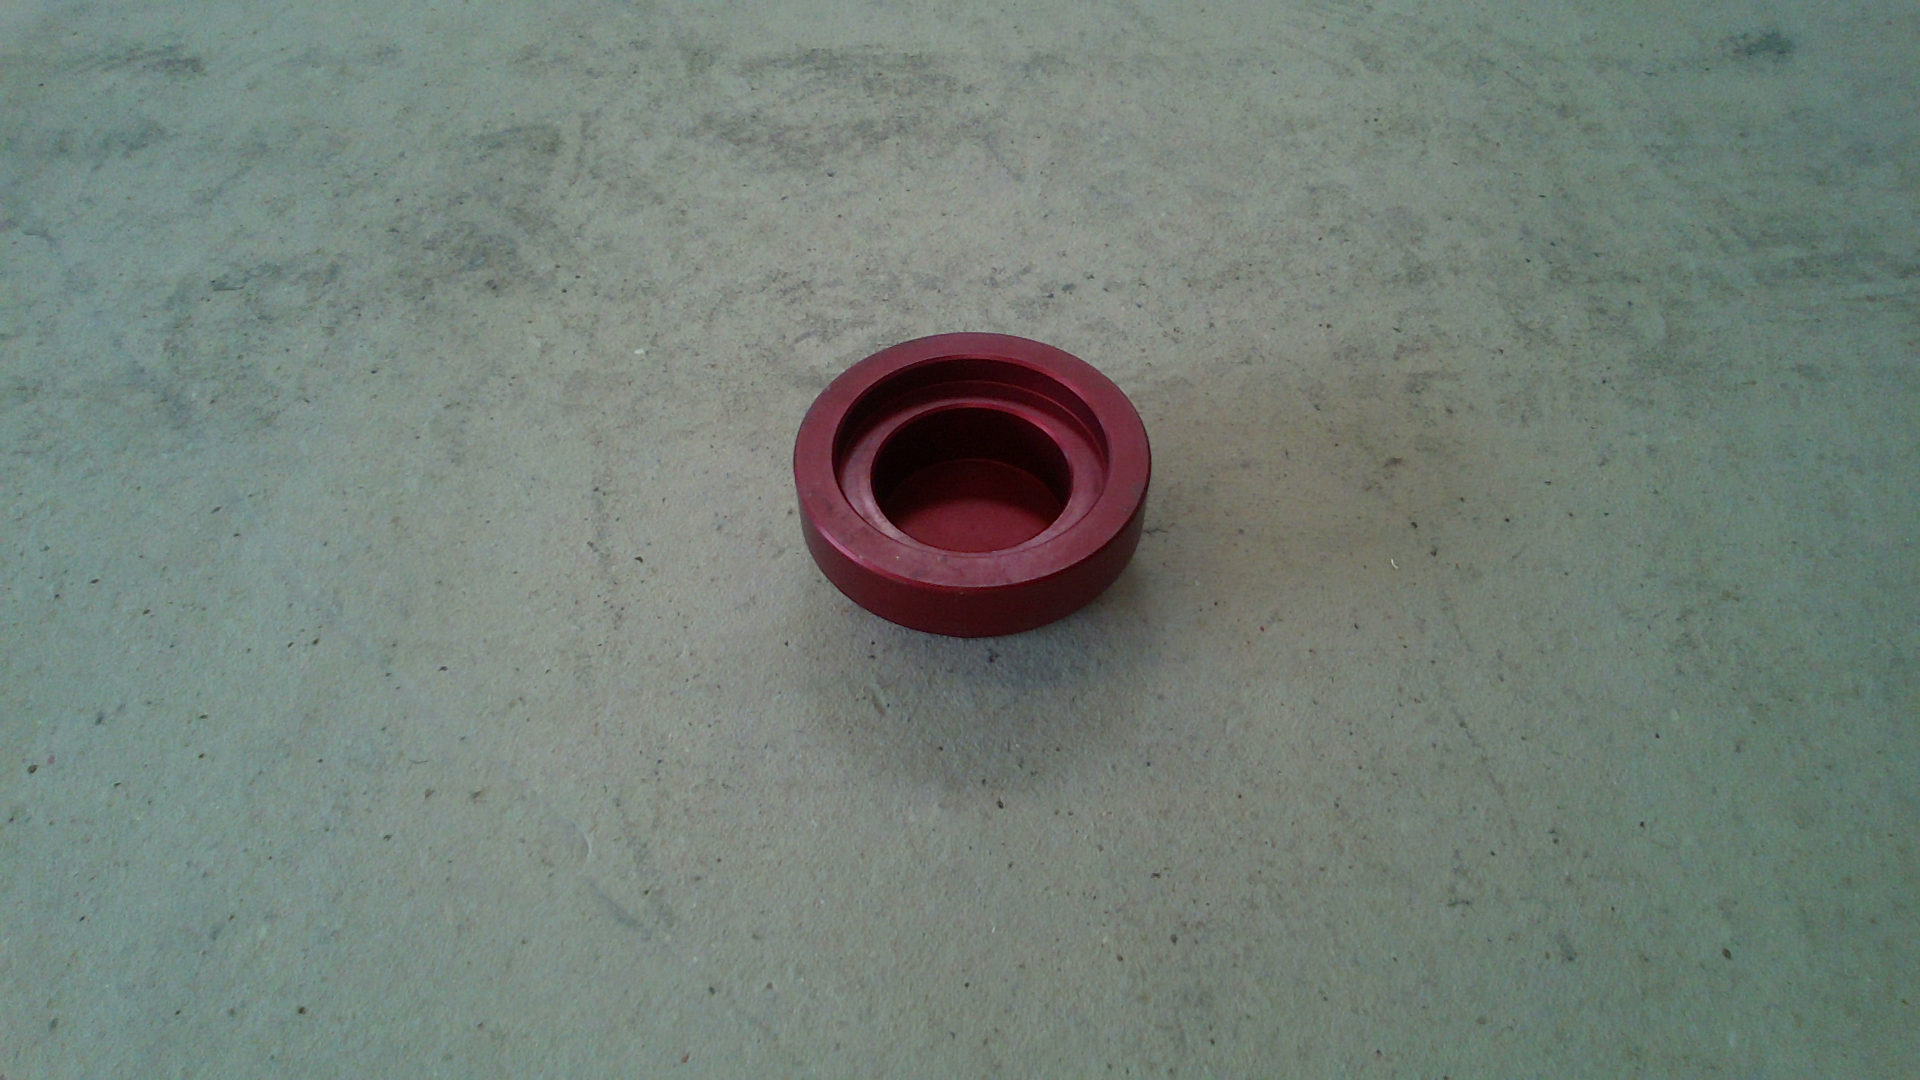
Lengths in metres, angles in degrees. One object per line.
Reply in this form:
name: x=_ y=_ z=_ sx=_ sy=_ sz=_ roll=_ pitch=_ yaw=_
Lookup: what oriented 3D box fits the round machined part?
round machined part: x=0.003 y=-0.011 z=0.390 sx=0.098 sy=0.042 sz=0.098 roll=0 pitch=50 yaw=0
